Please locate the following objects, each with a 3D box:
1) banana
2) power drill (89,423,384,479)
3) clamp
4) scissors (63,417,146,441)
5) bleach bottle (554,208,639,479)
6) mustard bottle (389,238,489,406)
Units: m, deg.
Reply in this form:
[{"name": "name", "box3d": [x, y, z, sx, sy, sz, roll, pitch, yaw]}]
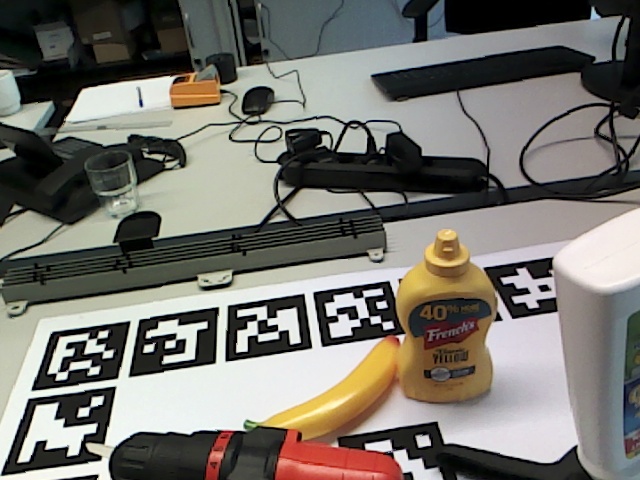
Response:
[{"name": "banana", "box3d": [0.014, 0.141, 0.658, 0.196, 0.039, 0.075, -33, 25, -33]}, {"name": "power drill", "box3d": [-0.045, 0.201, 0.406, 0.185, 0.186, 0.057, -2, 27, 11]}, {"name": "clamp", "box3d": [0.211, 0.204, 0.516, 0.202, 0.036, 0.166, -10, 36, -8]}, {"name": "scissors", "box3d": [-0.120, 0.170, 0.488, 0.203, 0.016, 0.087, 11, 41, 16]}, {"name": "bleach bottle", "box3d": [0.234, 0.105, 0.472, 0.102, 0.249, 0.068, -24, 33, -13]}, {"name": "mustard bottle", "box3d": [0.117, 0.081, 0.612, 0.096, 0.191, 0.058, 1, 34, 9]}]
